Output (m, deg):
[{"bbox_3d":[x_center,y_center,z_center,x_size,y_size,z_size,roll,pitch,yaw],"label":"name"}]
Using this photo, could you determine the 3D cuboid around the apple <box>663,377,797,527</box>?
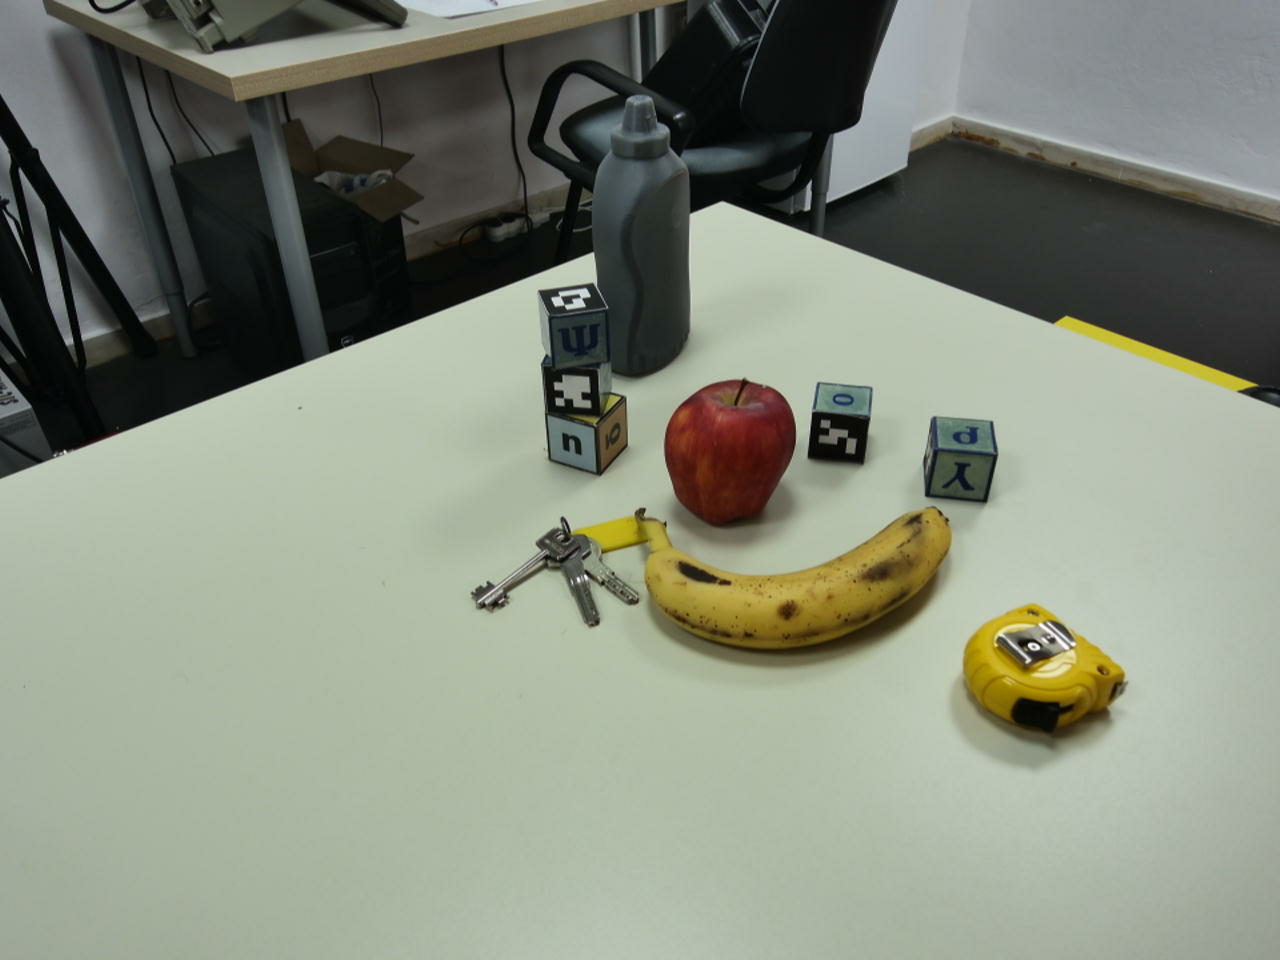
[{"bbox_3d":[0.055,-0.023,0.604,0.083,0.090,0.083,-1,36,1],"label":"apple"}]
